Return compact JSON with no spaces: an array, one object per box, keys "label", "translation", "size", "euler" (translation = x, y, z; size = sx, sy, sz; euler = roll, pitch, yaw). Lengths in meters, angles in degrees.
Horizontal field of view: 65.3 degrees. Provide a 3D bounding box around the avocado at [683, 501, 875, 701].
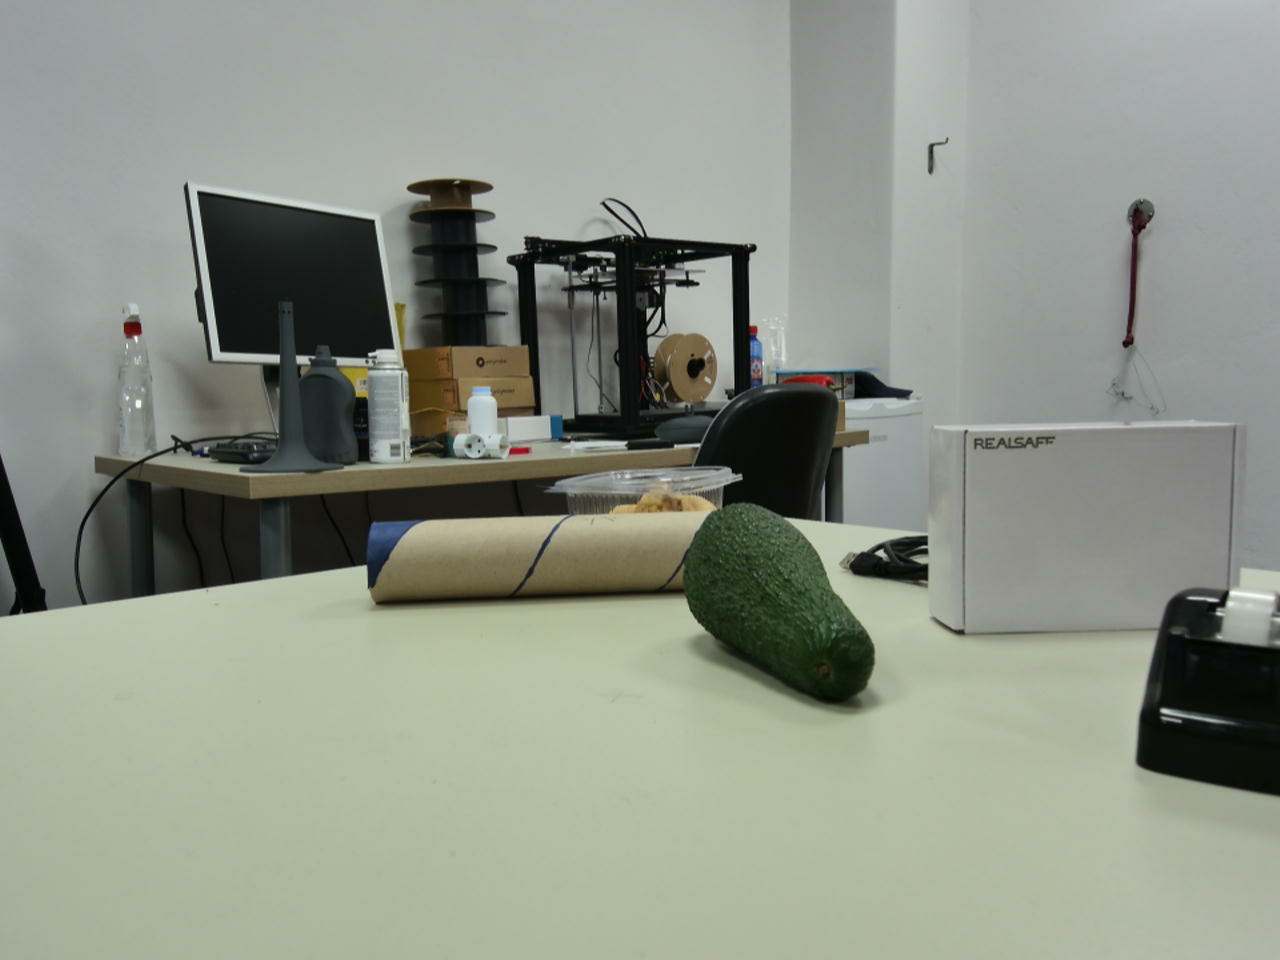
[{"label":"avocado","translation":[0.064,0.047,0.439],"size":[0.063,0.067,0.141],"euler":[-1,3,-25]}]
